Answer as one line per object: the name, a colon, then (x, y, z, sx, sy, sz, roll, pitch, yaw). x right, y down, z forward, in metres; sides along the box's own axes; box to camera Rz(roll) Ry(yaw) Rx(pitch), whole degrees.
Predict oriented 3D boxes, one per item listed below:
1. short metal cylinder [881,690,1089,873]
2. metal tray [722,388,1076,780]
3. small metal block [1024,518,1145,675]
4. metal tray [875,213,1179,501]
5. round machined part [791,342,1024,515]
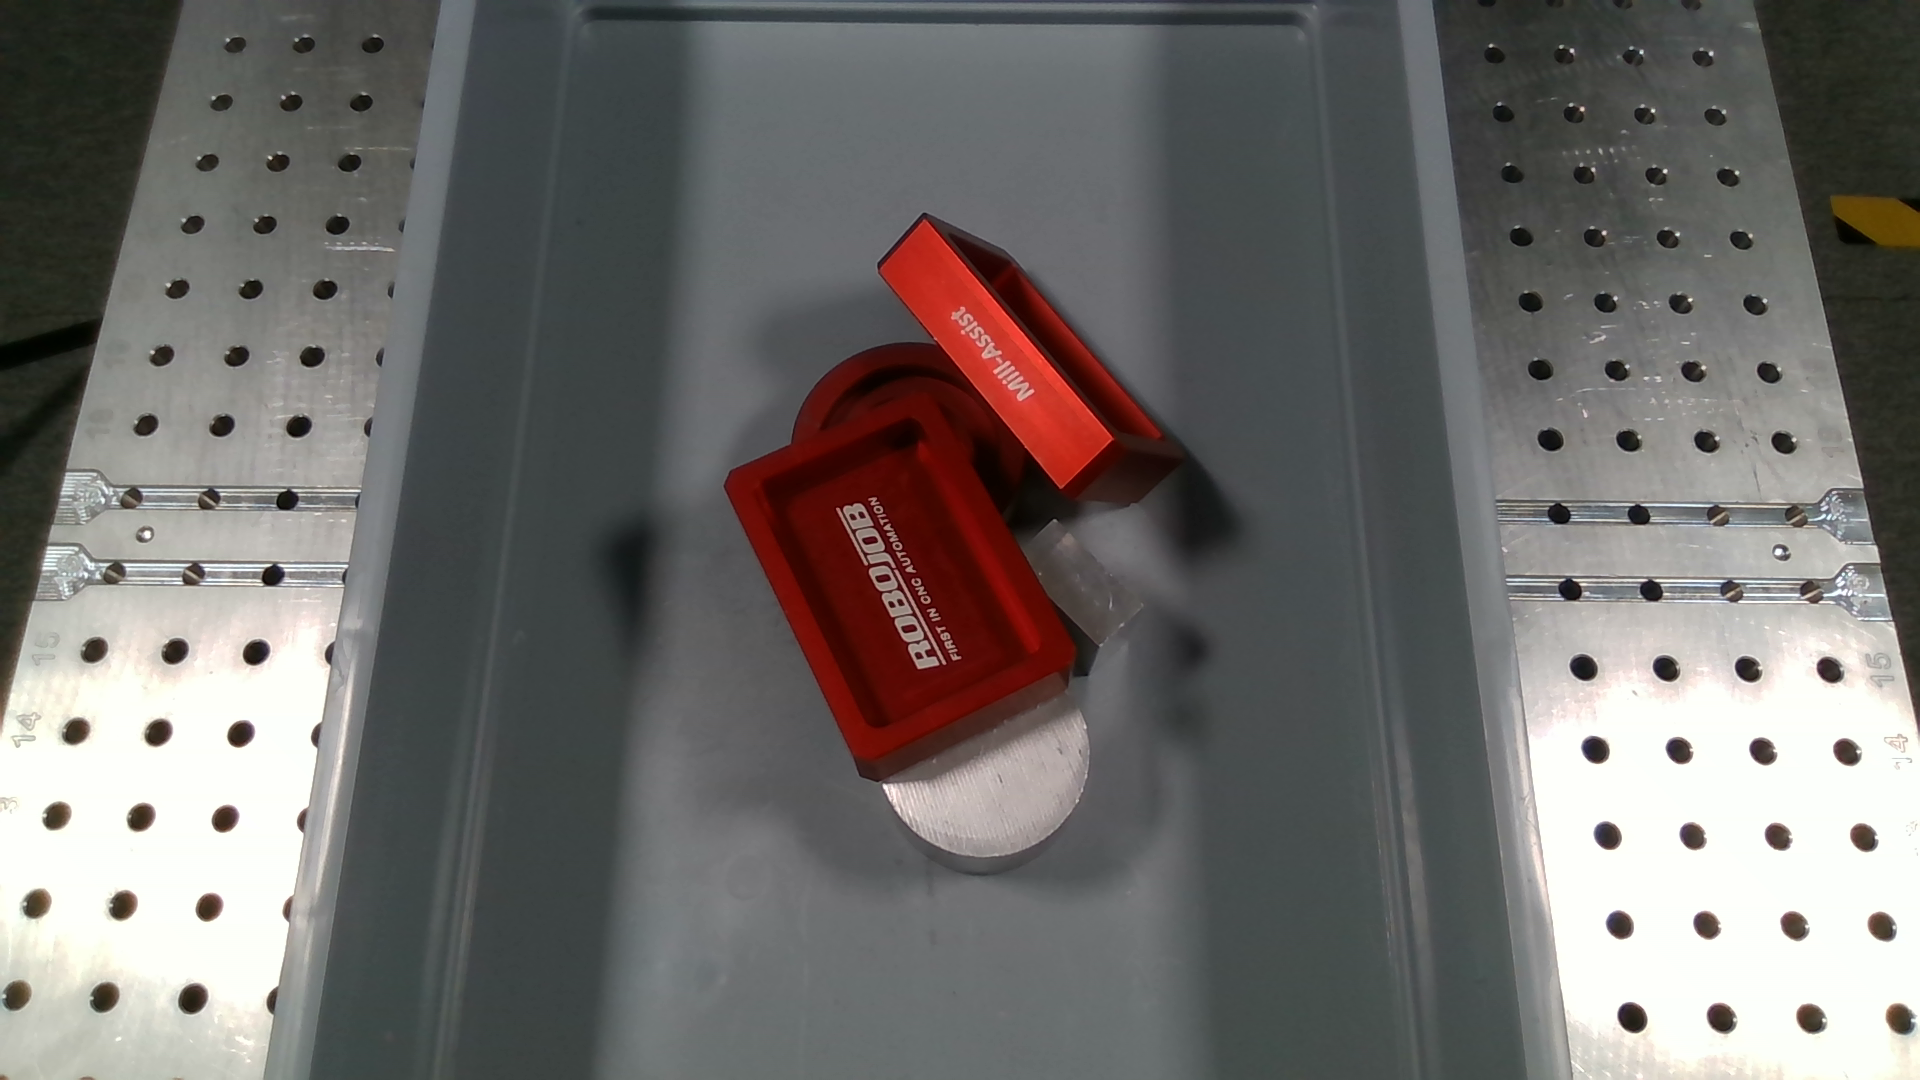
short metal cylinder: (0.008, 0.088, 0.542, 0.080, 0.050, 0.080, 0, 70, 0)
metal tray: (-0.024, 0.015, 0.528, 0.090, 0.030, 0.130, -25, 68, -10)
small metal block: (0.046, 0.025, 0.564, 0.025, 0.050, 0.050, -42, 77, -14)
metal tray: (0.031, -0.074, 0.577, 0.030, 0.090, 0.130, -44, 74, 19)
round machined part: (-0.022, -0.032, 0.590, 0.098, 0.042, 0.098, 0, 70, 0)
